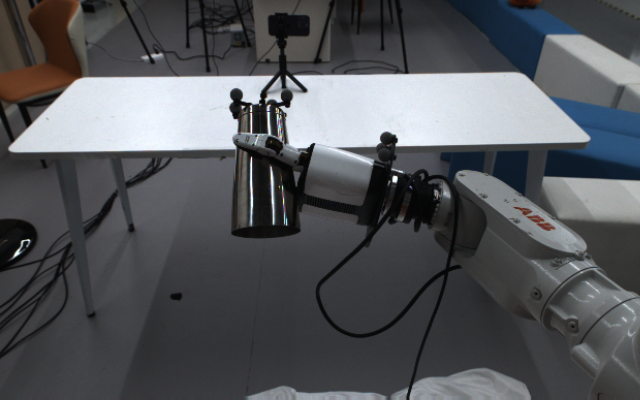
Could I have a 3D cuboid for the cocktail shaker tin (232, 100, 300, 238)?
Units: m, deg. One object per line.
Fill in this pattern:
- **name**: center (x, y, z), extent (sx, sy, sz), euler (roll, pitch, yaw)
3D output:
- **cocktail shaker tin**: center (-0.077, -0.039, 0.660), extent (0.093, 0.093, 0.170), euler (-3, 76, -7)
